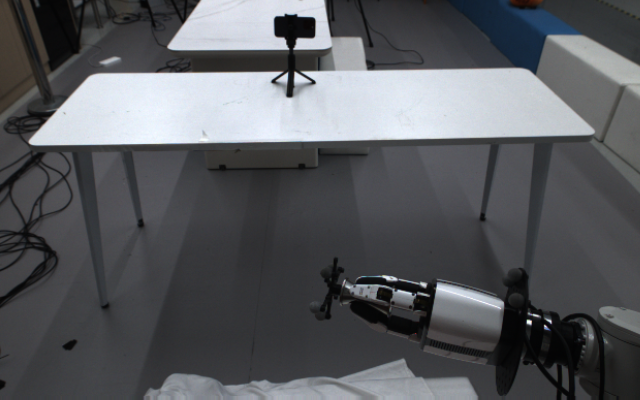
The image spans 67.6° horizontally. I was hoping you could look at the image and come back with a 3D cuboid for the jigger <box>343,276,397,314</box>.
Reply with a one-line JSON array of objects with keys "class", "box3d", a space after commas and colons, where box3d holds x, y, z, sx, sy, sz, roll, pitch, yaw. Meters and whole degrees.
[{"class": "jigger", "box3d": [0.071, 0.127, 0.656, 0.071, 0.043, 0.043, 10, 35, 16]}]
